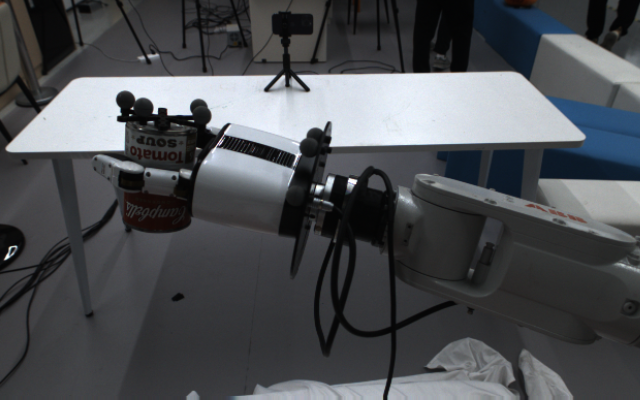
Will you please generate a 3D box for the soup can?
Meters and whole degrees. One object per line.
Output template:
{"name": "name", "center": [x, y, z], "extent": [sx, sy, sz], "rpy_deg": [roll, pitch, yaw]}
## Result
{"name": "soup can", "center": [-0.158, -0.025, 0.482], "extent": [0.067, 0.101, 0.067], "rpy_deg": [8, 19, -3]}
